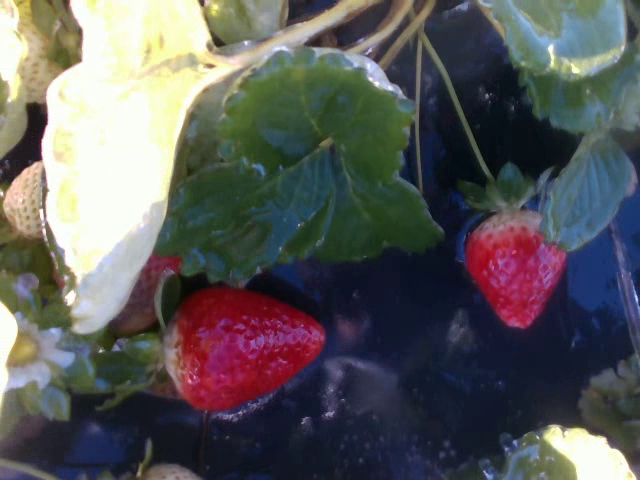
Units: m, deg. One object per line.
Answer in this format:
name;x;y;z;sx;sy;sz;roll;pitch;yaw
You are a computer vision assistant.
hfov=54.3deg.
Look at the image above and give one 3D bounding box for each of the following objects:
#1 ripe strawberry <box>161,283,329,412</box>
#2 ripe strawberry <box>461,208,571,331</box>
ripe strawberry;-0.020;0.040;0.203;0.056;0.044;0.040;-1;25;-23
ripe strawberry;0.070;0.011;0.211;0.039;0.047;0.040;-11;18;-18
